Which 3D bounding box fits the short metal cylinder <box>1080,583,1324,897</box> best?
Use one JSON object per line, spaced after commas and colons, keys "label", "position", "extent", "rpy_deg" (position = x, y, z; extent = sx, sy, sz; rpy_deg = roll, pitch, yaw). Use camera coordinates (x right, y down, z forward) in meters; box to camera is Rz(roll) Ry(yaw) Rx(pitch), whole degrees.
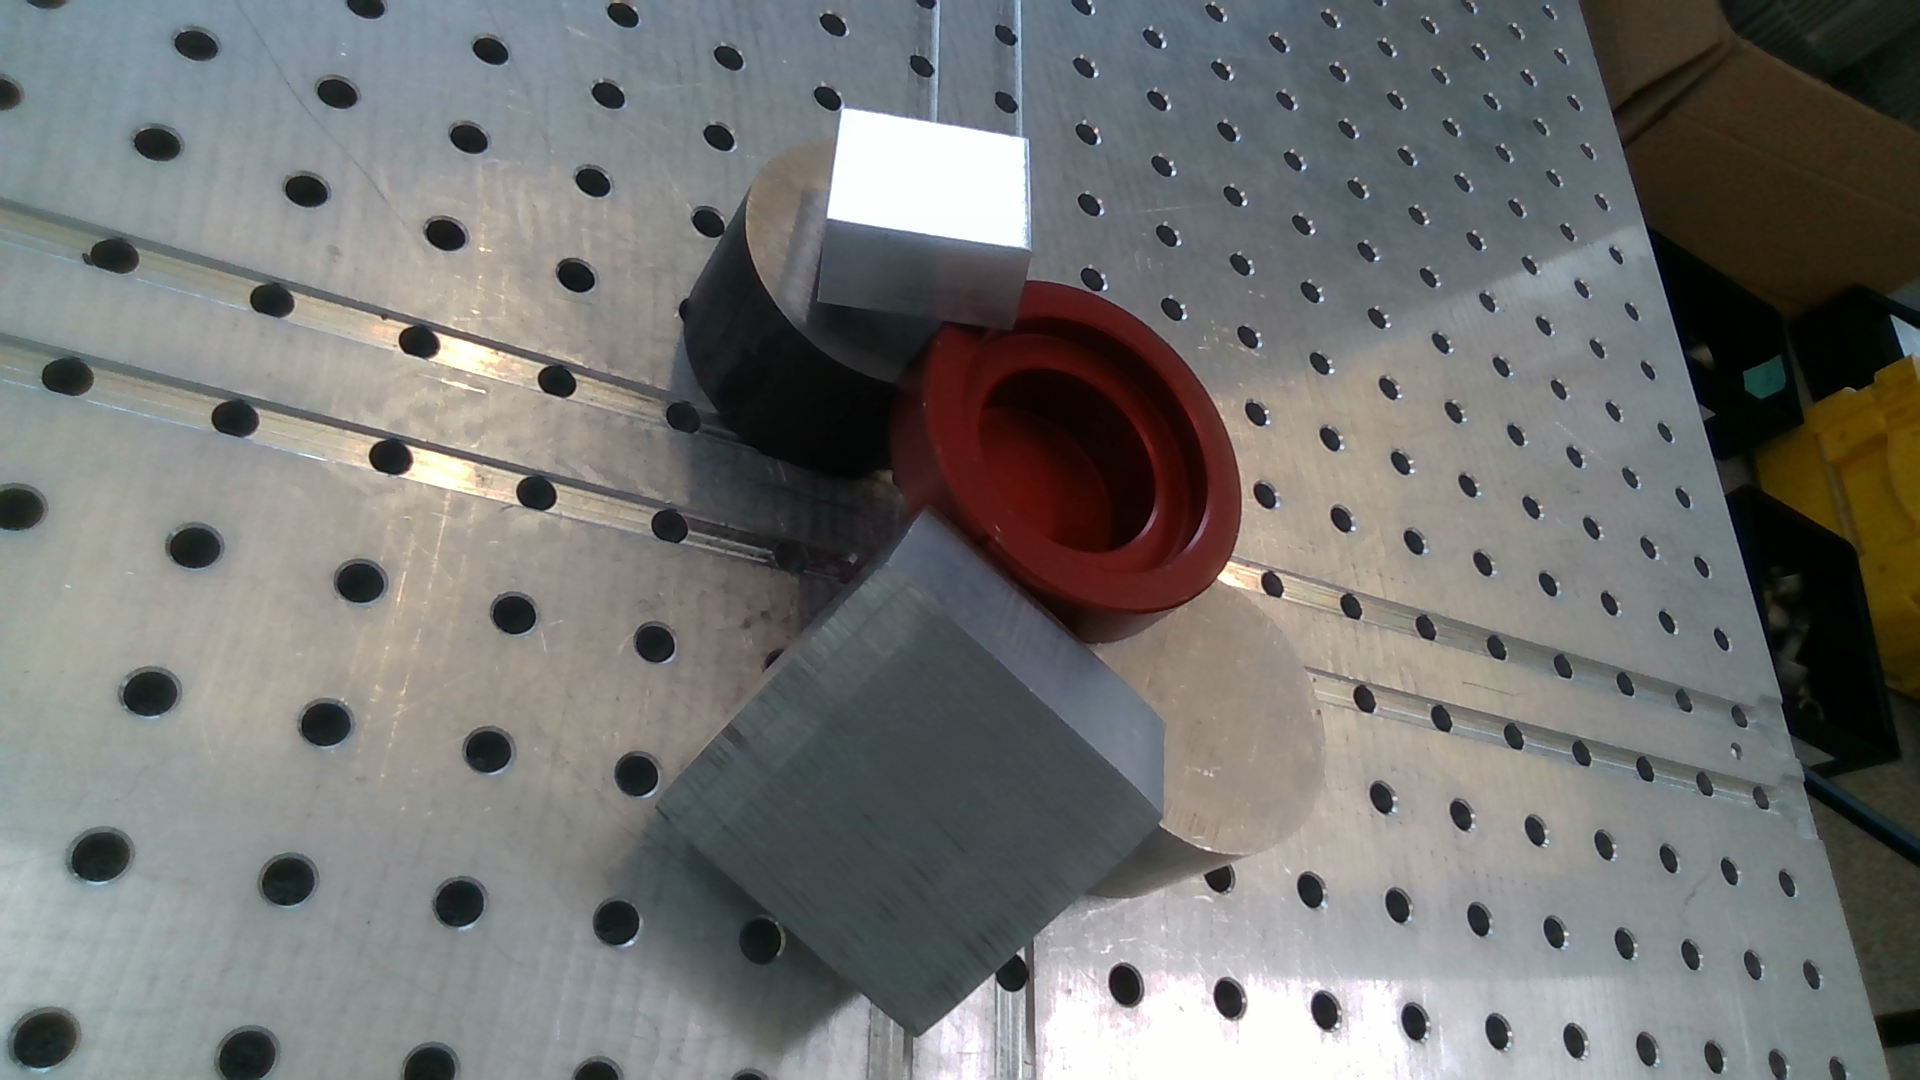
{"label": "short metal cylinder", "position": [0.054, 0.054, 0.384], "extent": [0.080, 0.050, 0.080], "rpy_deg": [14, 59, -25]}

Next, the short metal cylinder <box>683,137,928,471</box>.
{"label": "short metal cylinder", "position": [-0.033, -0.067, 0.395], "extent": [0.080, 0.050, 0.080], "rpy_deg": [14, 59, -25]}

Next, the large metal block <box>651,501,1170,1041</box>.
{"label": "large metal block", "position": [-0.009, 0.052, 0.319], "extent": [0.080, 0.080, 0.050], "rpy_deg": [43, 17, -5]}

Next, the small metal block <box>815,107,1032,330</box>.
{"label": "small metal block", "position": [-0.009, -0.083, 0.354], "extent": [0.050, 0.025, 0.050], "rpy_deg": [8, 47, -7]}

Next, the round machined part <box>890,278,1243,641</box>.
{"label": "round machined part", "position": [0.025, -0.018, 0.372], "extent": [0.098, 0.042, 0.098], "rpy_deg": [14, 59, -25]}
